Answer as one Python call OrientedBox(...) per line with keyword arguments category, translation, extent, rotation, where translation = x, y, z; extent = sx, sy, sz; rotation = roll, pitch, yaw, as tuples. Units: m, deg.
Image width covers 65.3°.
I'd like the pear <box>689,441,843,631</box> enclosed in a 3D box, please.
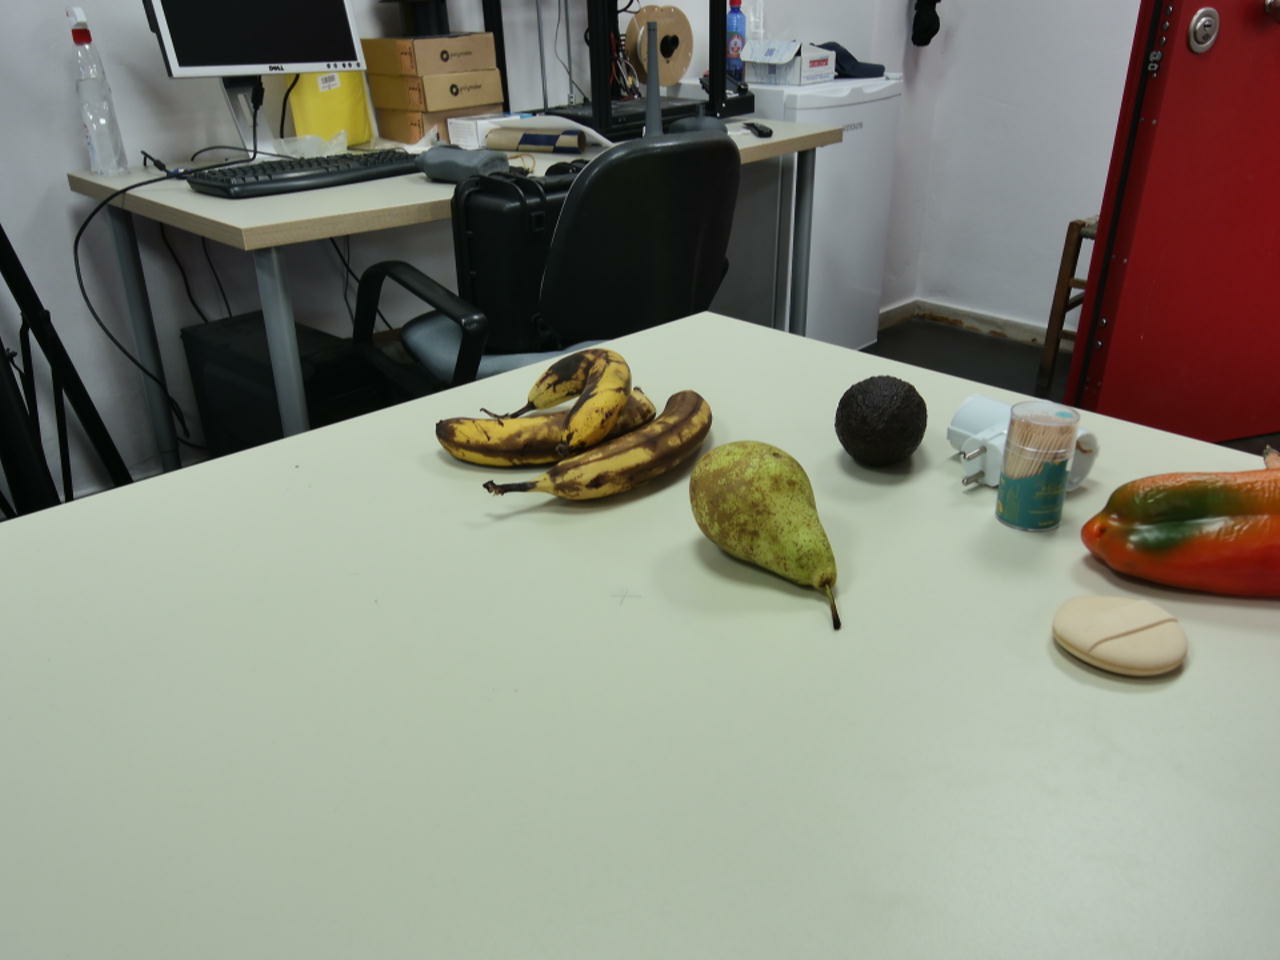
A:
OrientedBox(category="pear", translation=(0.083, 0.020, 0.598), extent=(0.128, 0.075, 0.071), rotation=(20, 31, 35))
